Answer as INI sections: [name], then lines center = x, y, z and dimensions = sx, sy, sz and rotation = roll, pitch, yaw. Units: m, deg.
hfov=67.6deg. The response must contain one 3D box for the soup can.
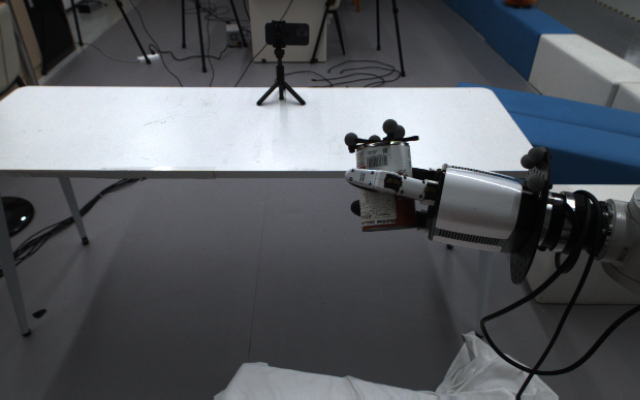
[soup can]
center = 0.082, -0.015, 0.587
dimensions = 0.067, 0.101, 0.067
rotation = -5, -5, 0
